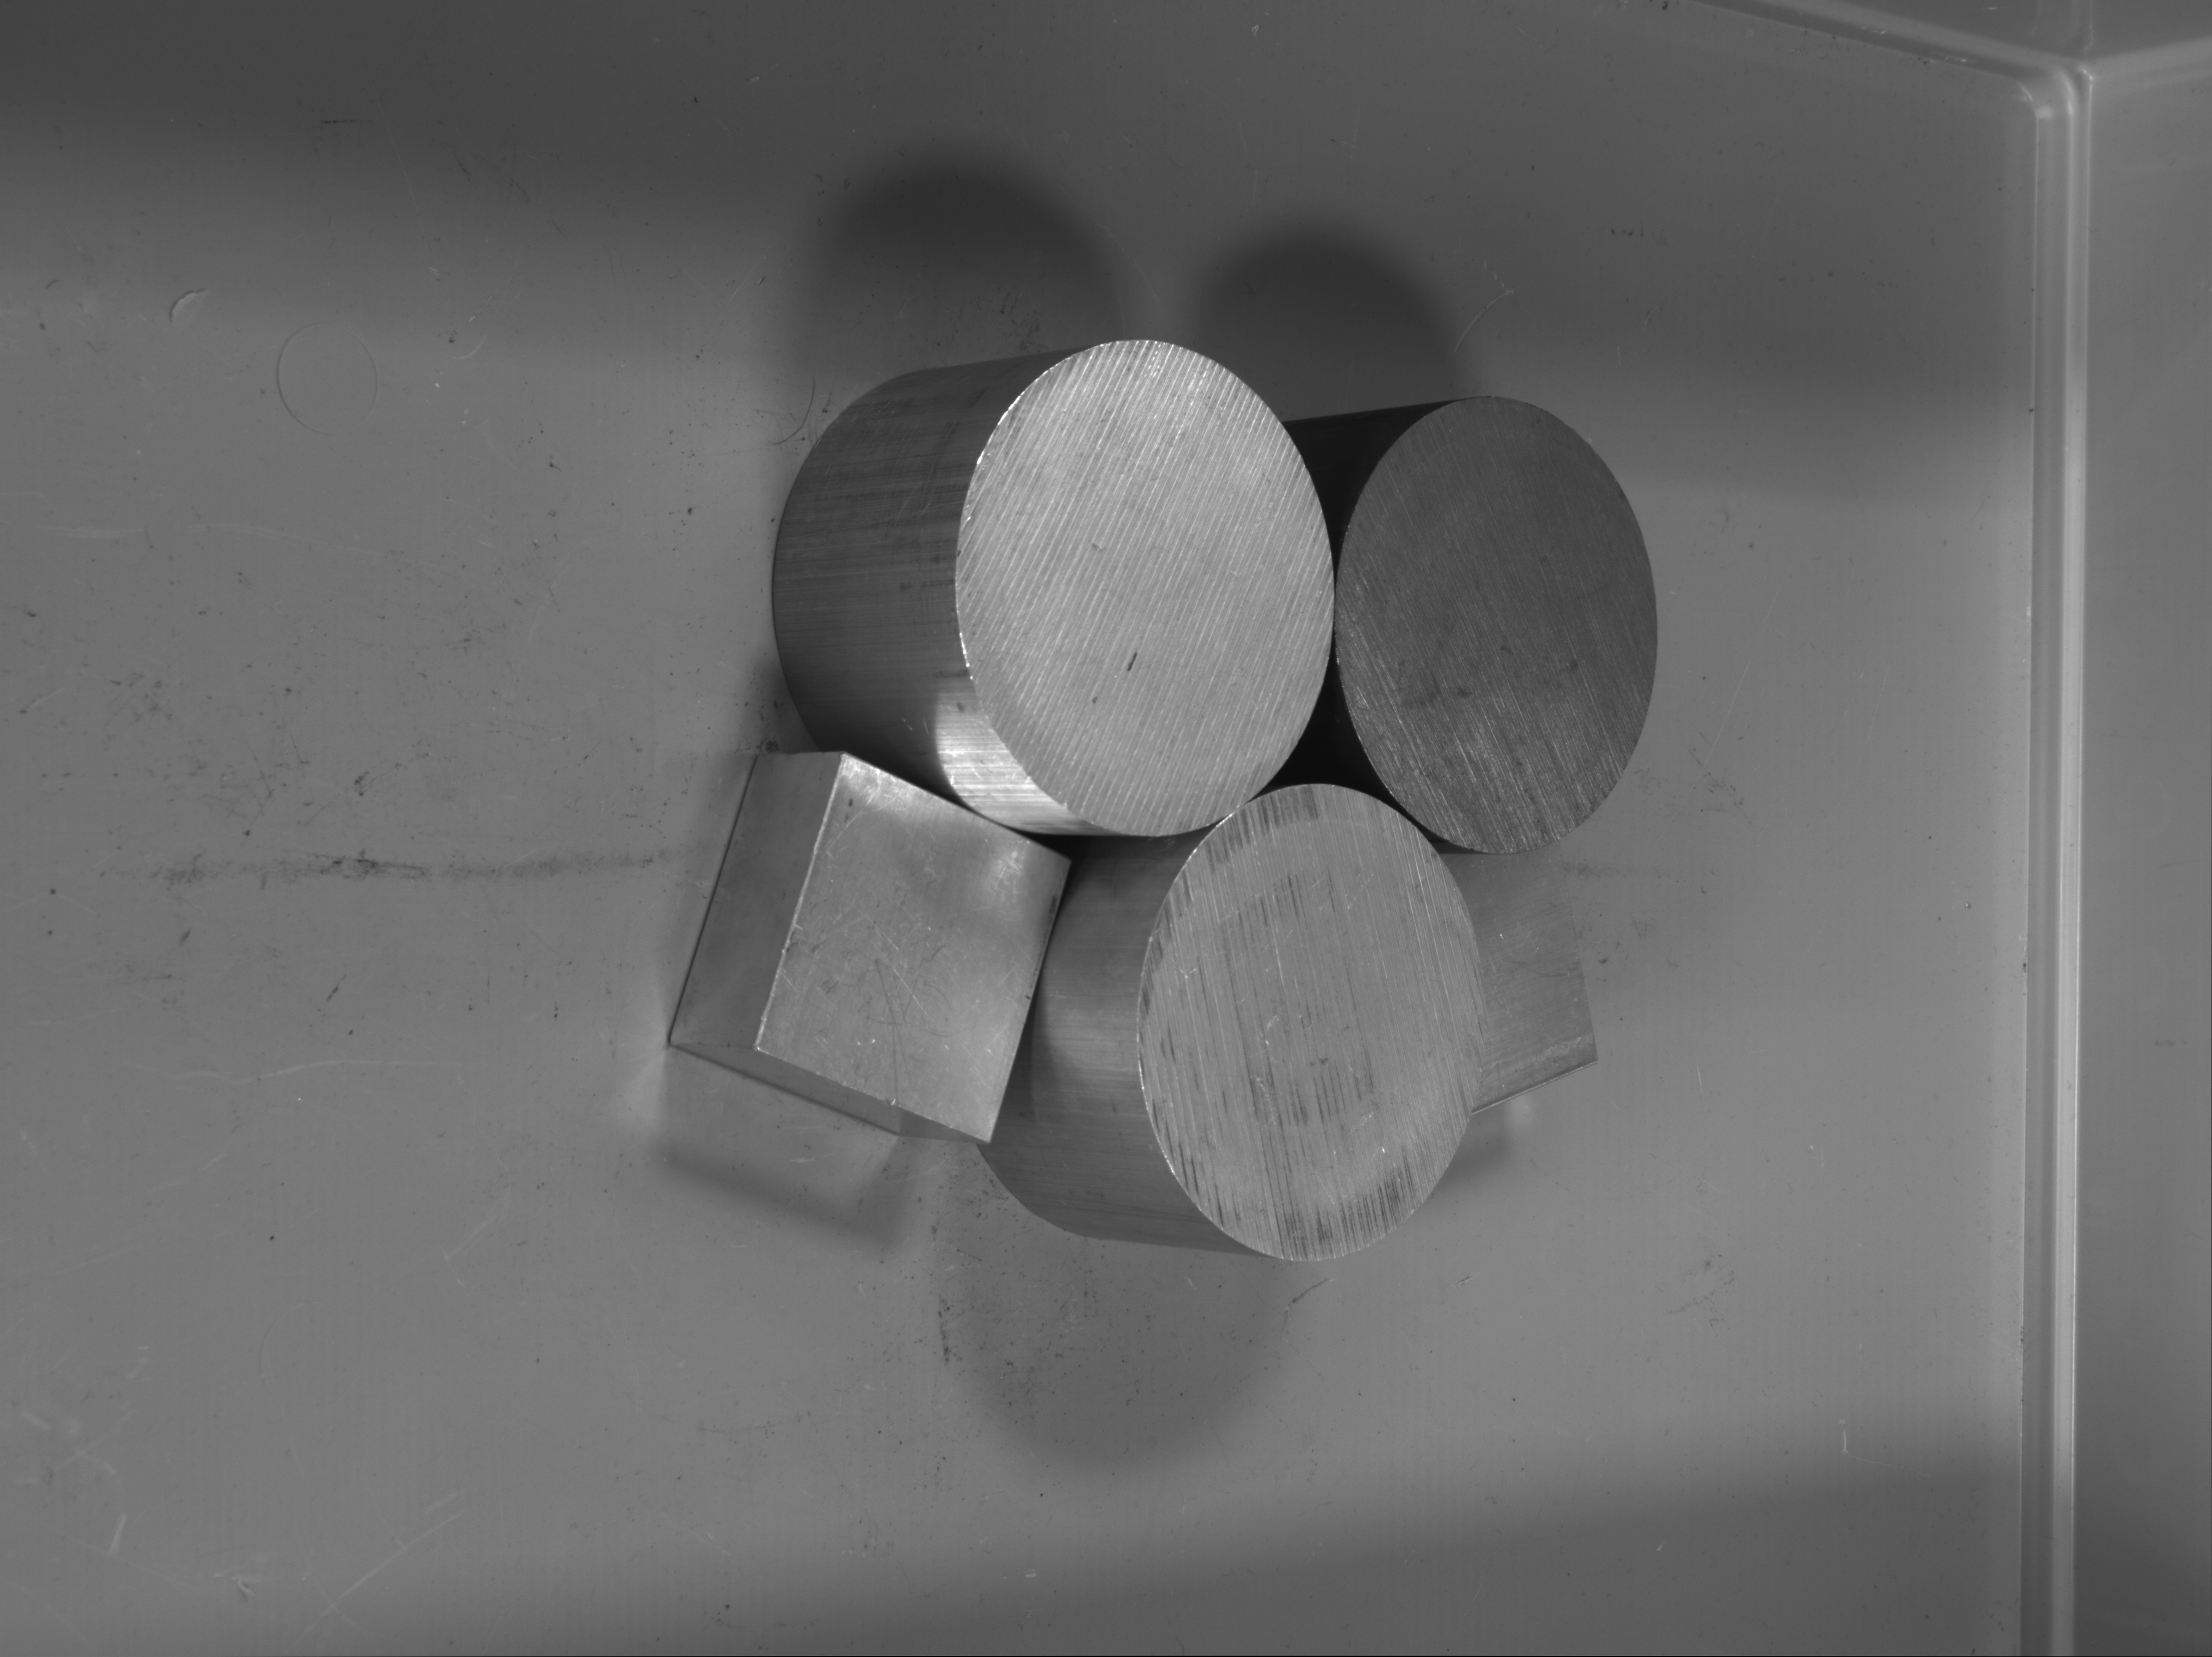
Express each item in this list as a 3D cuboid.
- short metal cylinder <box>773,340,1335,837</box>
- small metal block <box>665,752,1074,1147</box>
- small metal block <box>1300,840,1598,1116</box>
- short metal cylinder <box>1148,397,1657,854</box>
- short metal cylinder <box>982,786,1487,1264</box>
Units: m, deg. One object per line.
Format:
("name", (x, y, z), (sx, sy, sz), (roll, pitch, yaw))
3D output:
("short metal cylinder", (-0.008, -0.039, 0.612), (0.080, 0.050, 0.080), (0, 90, -40))
("small metal block", (-0.038, 0.020, 0.603), (0.050, 0.025, 0.050), (26, 73, -37))
("small metal block", (0.062, 0.026, 0.687), (0.050, 0.025, 0.050), (-18, 101, -38))
("short metal cylinder", (0.054, -0.036, 0.663), (0.080, 0.050, 0.080), (0, 90, -40))
("short metal cylinder", (0.020, 0.033, 0.635), (0.080, 0.050, 0.080), (0, 90, -40))
